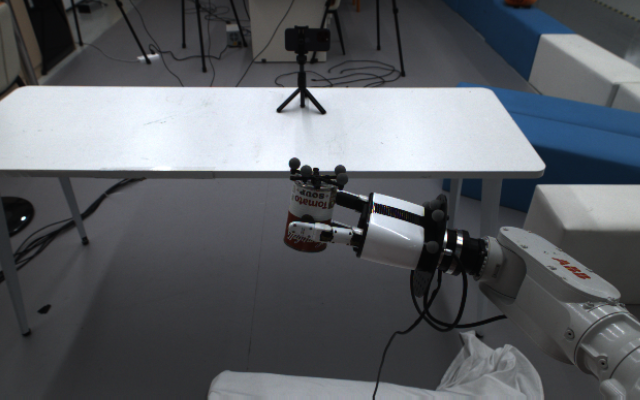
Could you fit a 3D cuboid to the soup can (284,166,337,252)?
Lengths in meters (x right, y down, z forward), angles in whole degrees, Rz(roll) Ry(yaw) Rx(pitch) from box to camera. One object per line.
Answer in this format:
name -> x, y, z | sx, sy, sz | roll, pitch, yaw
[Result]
soup can -> -0.013, 0.018, 0.725 | 0.067, 0.101, 0.067 | 9, 20, -3
